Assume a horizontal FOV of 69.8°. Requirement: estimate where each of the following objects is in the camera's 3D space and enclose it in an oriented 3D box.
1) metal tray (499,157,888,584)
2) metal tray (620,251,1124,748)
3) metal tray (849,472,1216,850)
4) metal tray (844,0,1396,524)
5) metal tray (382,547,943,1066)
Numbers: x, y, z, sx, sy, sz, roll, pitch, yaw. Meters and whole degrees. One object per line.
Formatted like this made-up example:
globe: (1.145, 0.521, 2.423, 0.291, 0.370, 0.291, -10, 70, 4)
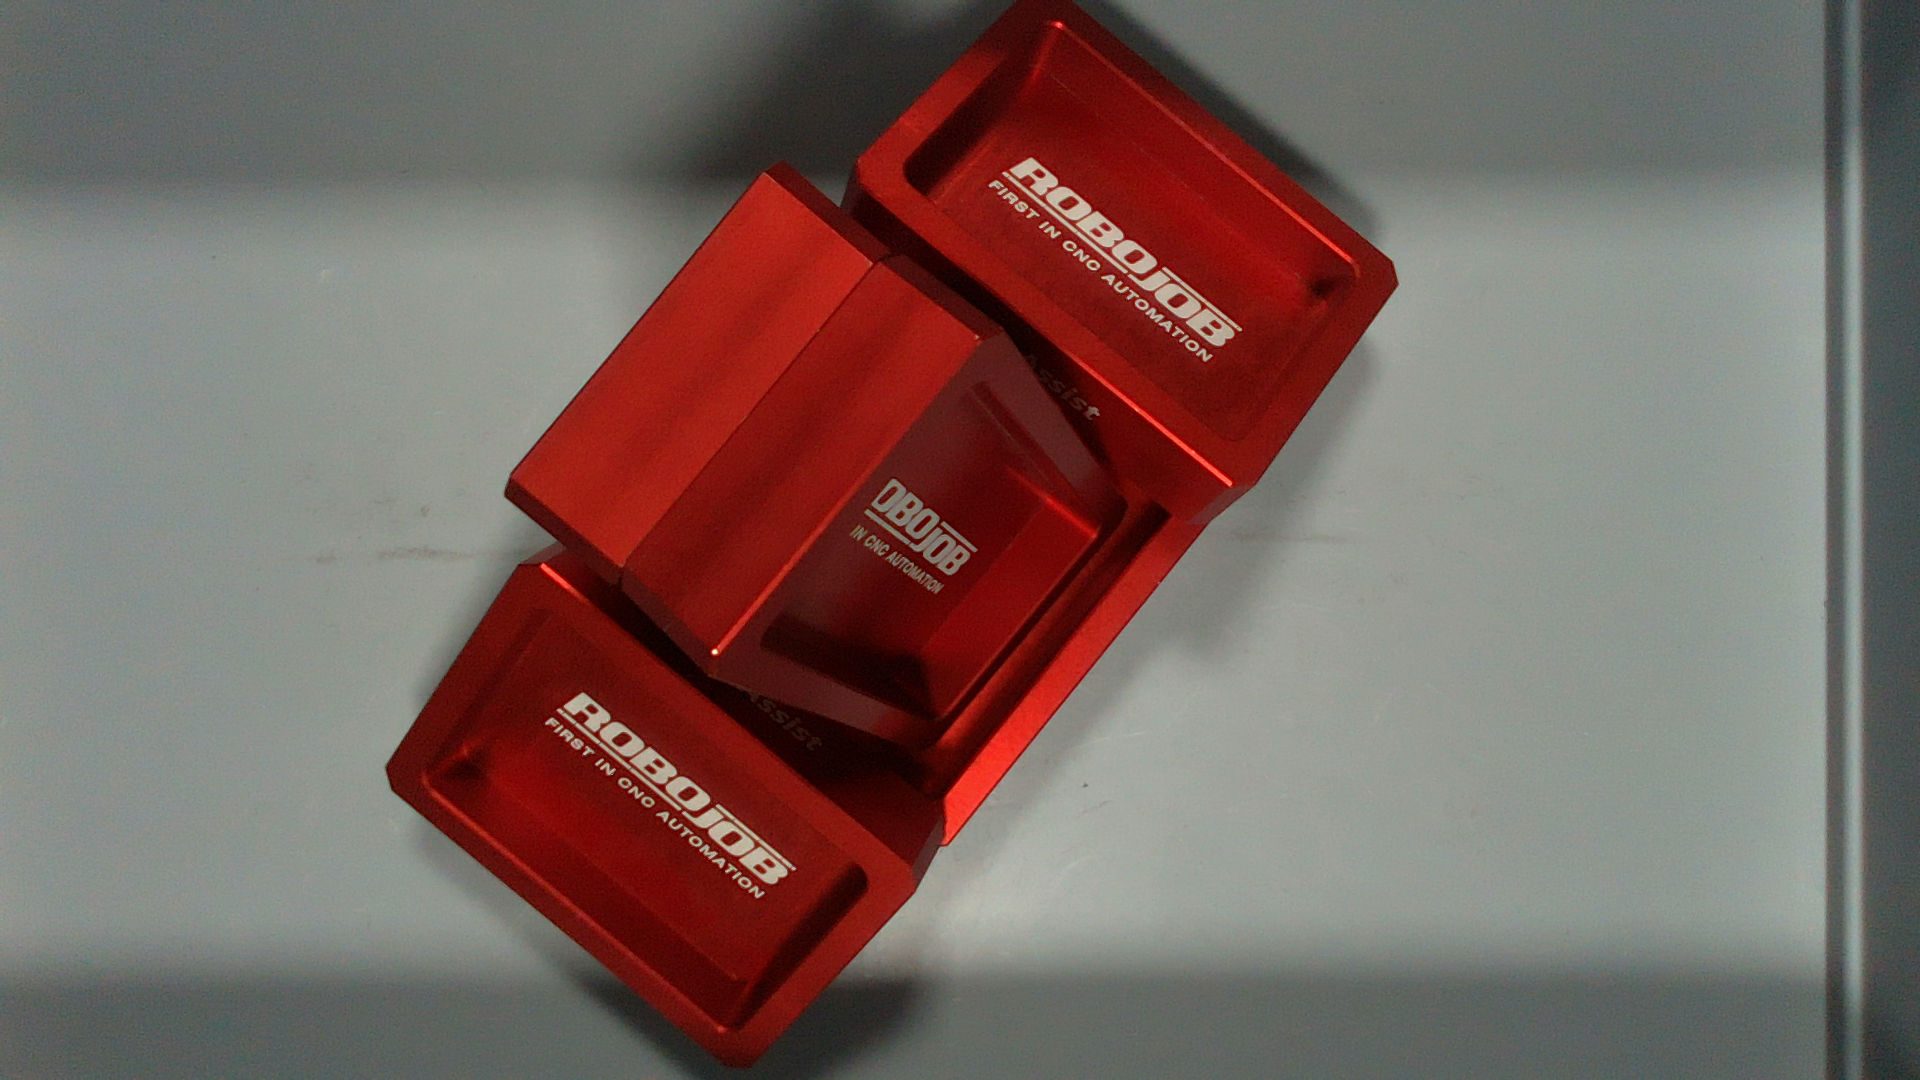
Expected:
metal tray: (-0.053, -0.034, 0.340, 0.030, 0.130, 0.090, 40, 90, 1)
metal tray: (-0.012, -0.001, 0.329, 0.030, 0.130, 0.090, 40, 90, 23)
metal tray: (0.001, 0.010, 0.391, 0.090, 0.030, 0.130, 39, 90, 0)
metal tray: (0.043, -0.078, 0.374, 0.130, 0.030, 0.090, 39, 65, 0)
metal tray: (-0.082, 0.071, 0.374, 0.130, 0.030, 0.090, 40, 114, 0)
